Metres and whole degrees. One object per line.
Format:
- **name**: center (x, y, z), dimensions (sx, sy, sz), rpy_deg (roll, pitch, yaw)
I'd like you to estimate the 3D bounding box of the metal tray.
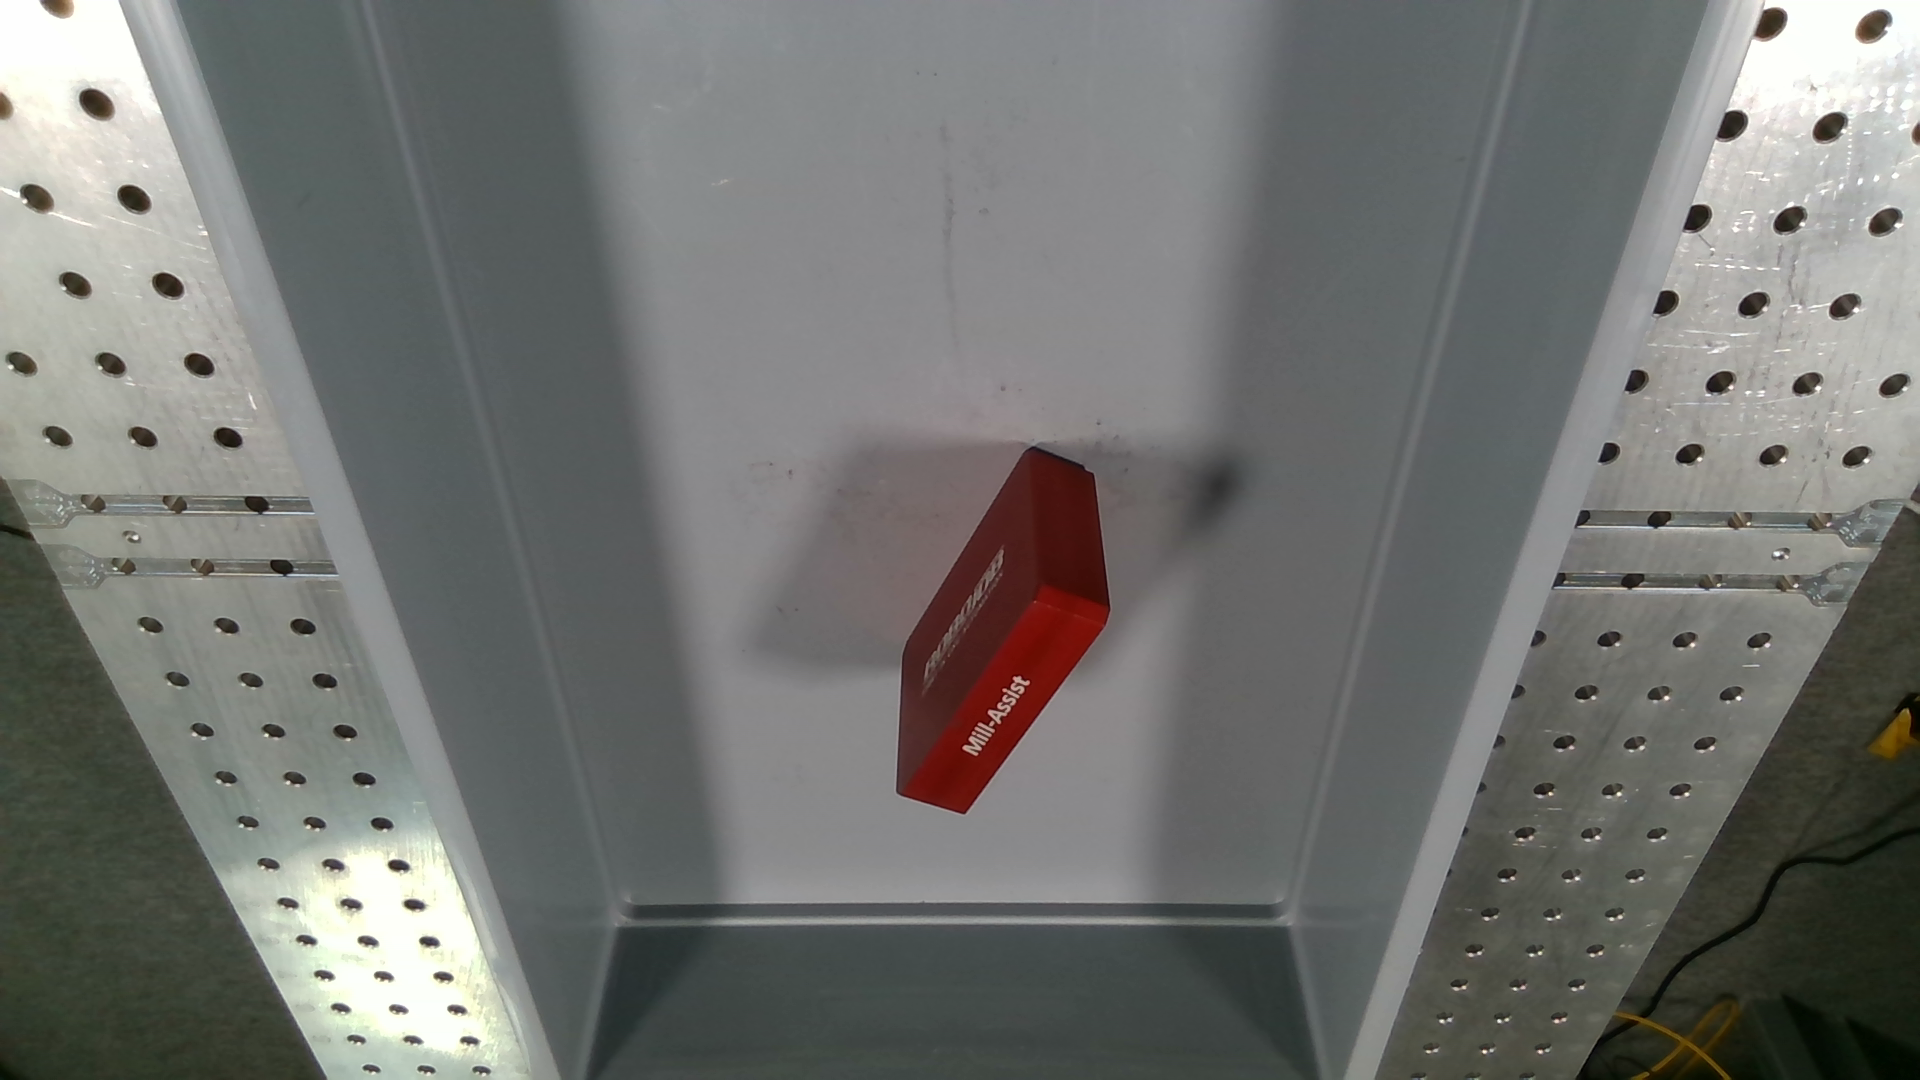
- **metal tray**: center (0.014, 0.039, 0.566), dimensions (0.030, 0.090, 0.130), rpy_deg (20, 128, -16)
